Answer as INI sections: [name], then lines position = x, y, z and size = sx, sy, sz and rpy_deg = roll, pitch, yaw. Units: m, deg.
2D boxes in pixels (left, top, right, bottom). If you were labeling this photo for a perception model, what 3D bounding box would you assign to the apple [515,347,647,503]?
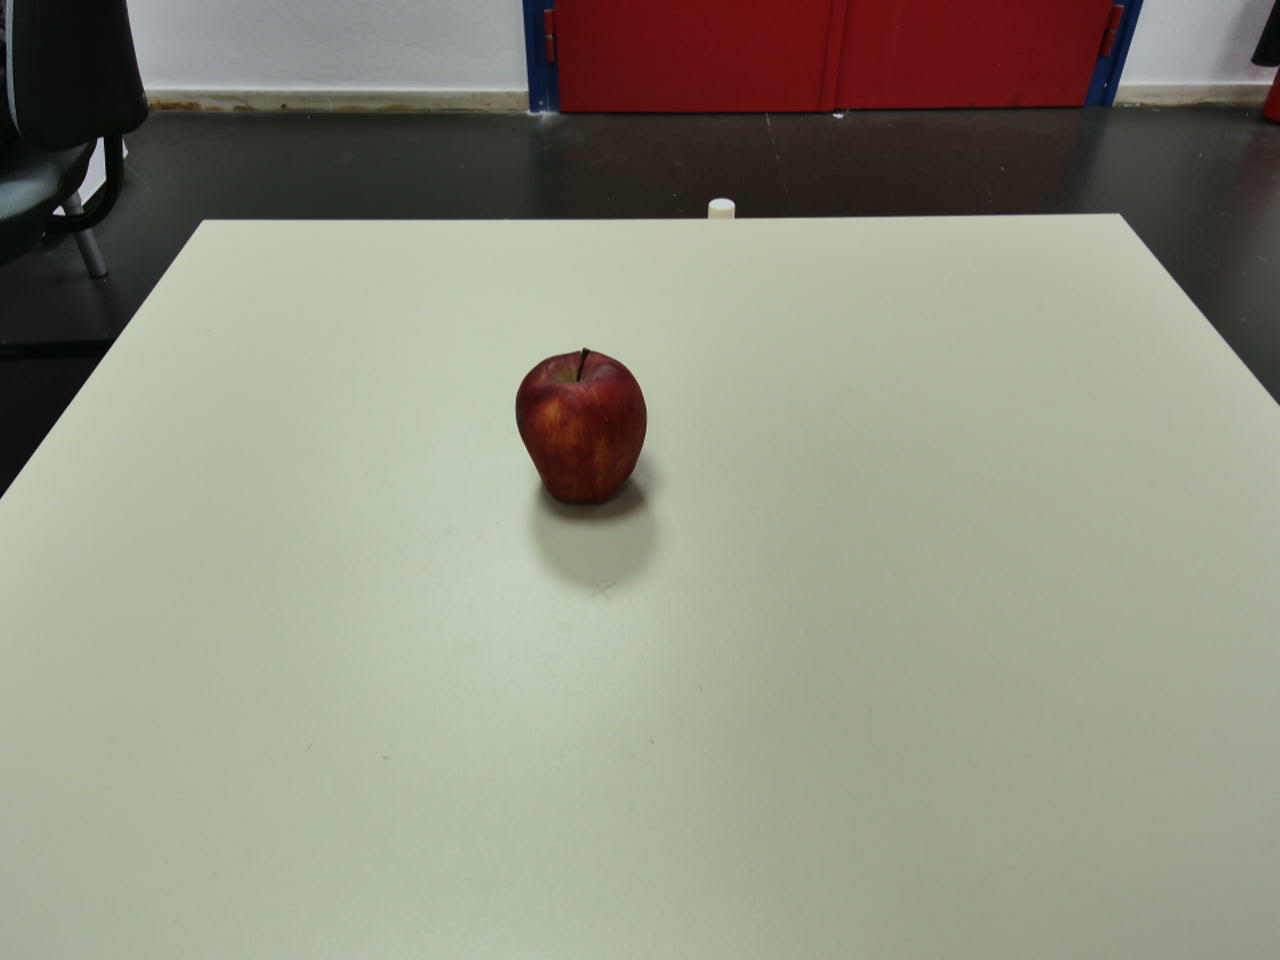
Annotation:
[apple]
position = -0.035, -0.036, 0.579
size = 0.083, 0.090, 0.083
rpy_deg = 1, 39, -1
